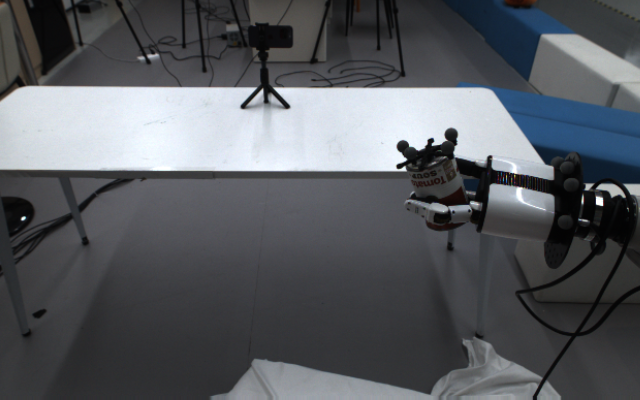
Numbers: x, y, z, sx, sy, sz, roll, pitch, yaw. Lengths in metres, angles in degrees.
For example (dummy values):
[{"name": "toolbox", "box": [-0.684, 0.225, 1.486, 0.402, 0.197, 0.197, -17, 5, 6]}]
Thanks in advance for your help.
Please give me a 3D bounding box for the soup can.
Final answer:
[{"name": "soup can", "box": [0.168, -0.018, 0.679, 0.067, 0.101, 0.067, -21, 24, 10]}]
